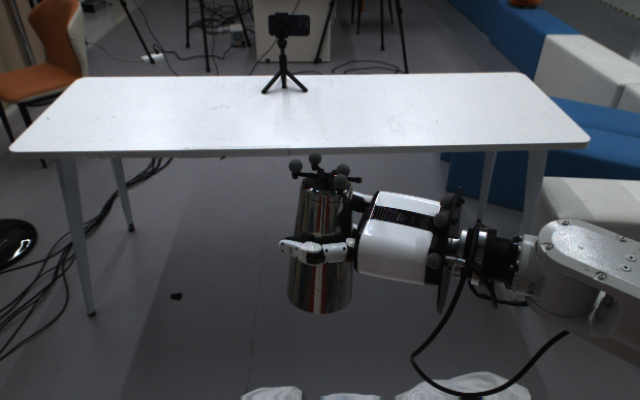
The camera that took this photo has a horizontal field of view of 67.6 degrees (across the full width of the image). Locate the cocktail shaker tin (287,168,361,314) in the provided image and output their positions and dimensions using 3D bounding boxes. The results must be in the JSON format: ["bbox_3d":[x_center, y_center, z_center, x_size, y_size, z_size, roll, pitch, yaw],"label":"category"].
[{"bbox_3d":[0.005,0.055,0.646,0.093,0.170,0.093,2,26,-1],"label":"cocktail shaker tin"}]
